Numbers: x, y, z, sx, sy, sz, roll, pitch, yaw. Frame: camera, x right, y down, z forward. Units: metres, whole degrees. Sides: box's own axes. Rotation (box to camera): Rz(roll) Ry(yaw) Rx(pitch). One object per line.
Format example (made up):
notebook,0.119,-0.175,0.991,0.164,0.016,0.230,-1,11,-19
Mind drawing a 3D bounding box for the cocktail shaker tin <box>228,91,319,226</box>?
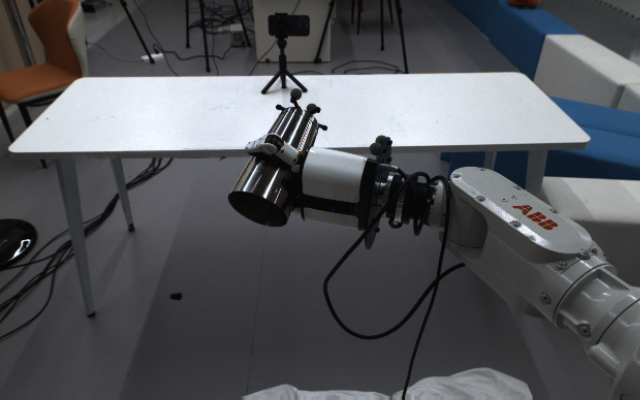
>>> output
cocktail shaker tin,-0.062,-0.055,0.723,0.093,0.093,0.170,14,61,17
